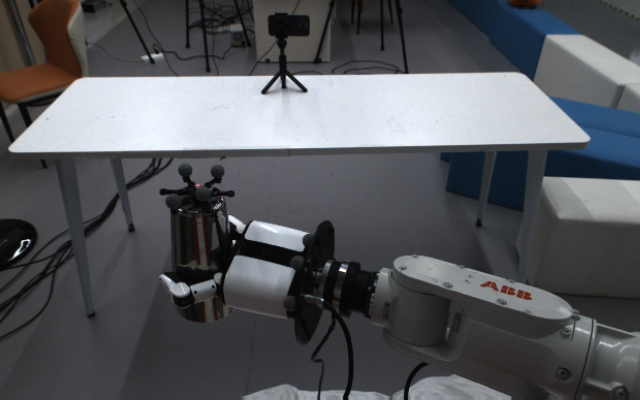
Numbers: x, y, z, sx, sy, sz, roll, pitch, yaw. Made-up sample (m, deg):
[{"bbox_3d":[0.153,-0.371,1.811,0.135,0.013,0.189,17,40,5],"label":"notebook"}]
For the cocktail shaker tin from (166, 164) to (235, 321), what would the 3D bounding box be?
[{"bbox_3d":[-0.152,0.068,0.637,0.093,0.170,0.093,3,34,-2],"label":"cocktail shaker tin"}]
